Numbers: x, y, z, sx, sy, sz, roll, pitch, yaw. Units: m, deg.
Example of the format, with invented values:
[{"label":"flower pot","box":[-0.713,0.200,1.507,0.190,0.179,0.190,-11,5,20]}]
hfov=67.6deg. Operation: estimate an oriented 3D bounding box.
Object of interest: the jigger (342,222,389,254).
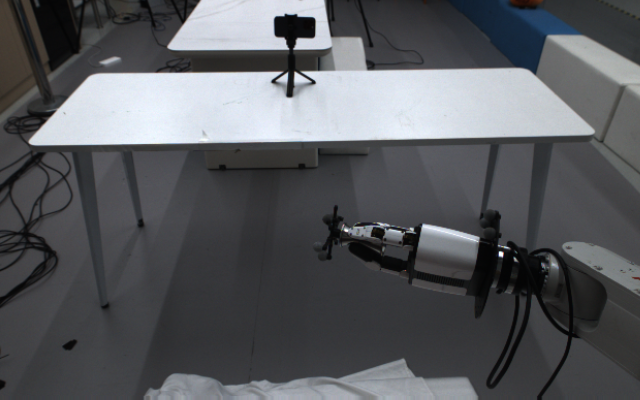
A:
[{"label":"jigger","box":[0.074,0.056,0.754,0.071,0.043,0.043,10,35,16]}]
